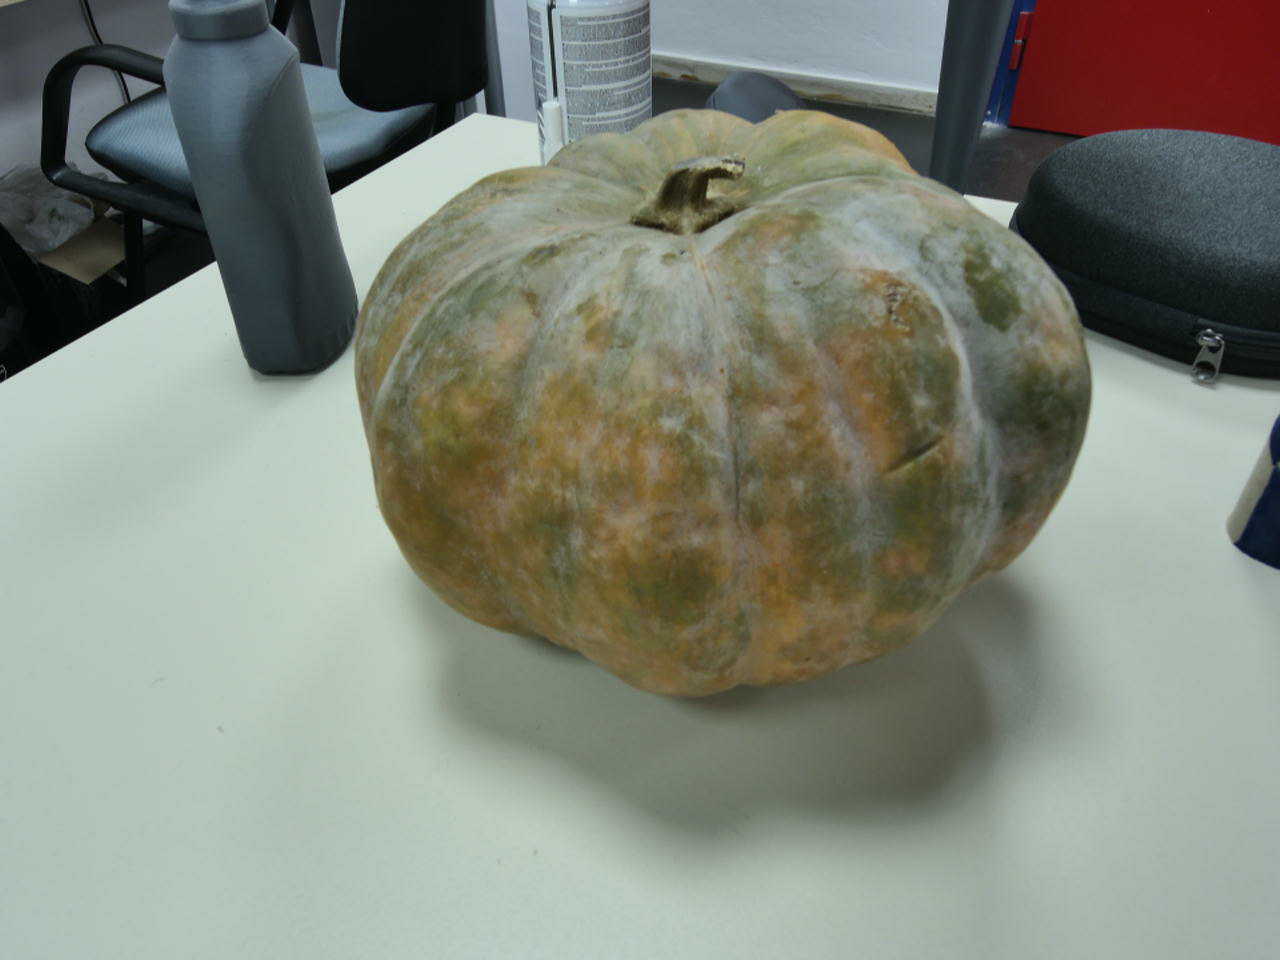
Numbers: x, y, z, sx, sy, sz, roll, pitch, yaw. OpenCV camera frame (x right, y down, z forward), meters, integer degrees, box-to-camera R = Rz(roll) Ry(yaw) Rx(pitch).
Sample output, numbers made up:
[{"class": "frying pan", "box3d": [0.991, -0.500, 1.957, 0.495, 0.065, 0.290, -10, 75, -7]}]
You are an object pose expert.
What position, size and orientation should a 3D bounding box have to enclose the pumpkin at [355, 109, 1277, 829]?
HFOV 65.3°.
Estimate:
[{"class": "pumpkin", "box3d": [0.020, -0.037, 0.363, 0.252, 0.169, 0.251, 0, 38, 0]}]
